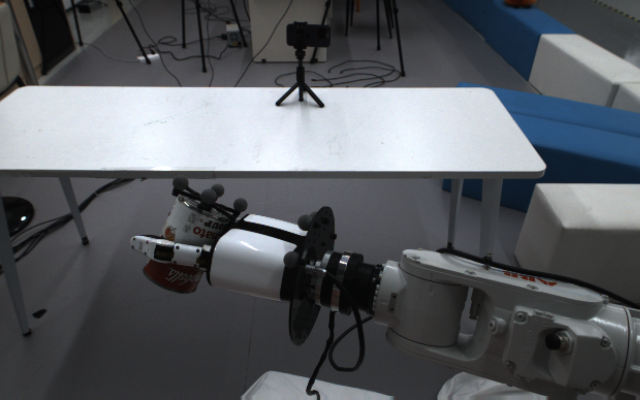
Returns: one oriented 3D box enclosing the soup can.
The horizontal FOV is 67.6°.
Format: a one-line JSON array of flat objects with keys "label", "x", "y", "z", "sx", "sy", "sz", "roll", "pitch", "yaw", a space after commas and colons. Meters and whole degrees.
[{"label": "soup can", "x": -0.158, "y": 0.053, "z": 0.578, "sx": 0.067, "sy": 0.101, "sz": 0.067, "roll": 27, "pitch": 6, "yaw": -3}]
